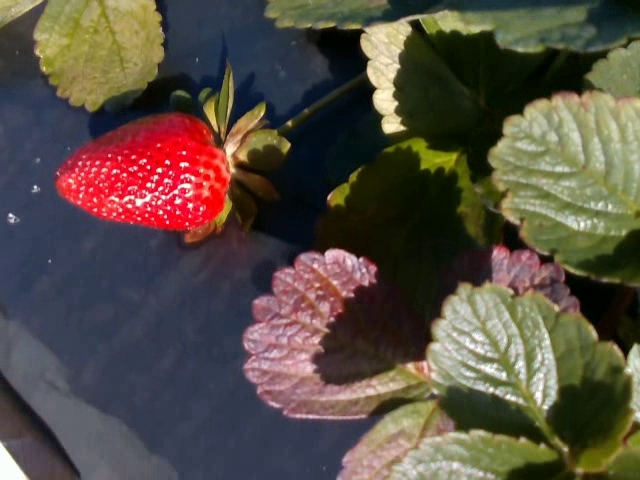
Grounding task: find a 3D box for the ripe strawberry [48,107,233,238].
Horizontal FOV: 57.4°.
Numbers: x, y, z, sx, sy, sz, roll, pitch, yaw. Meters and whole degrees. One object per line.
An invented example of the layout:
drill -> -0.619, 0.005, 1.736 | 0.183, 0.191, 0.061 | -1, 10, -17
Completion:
ripe strawberry -> -0.054, -0.018, 0.172 | 0.050, 0.043, 0.043 | -8, -17, -27
